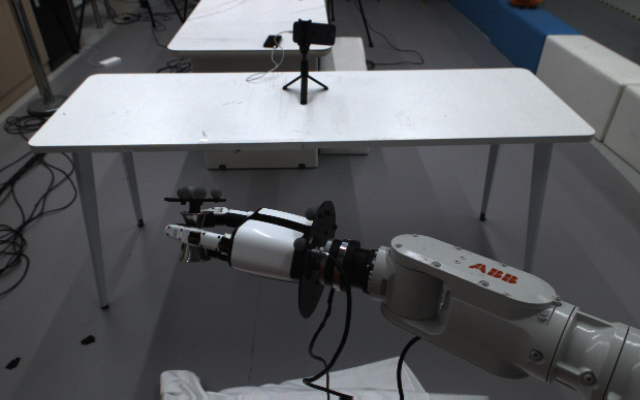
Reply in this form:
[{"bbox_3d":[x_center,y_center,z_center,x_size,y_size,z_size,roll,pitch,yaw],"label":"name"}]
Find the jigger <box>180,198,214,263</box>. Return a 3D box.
[{"bbox_3d":[-0.176,0.050,0.686,0.043,0.071,0.043,0,3,0],"label":"jigger"}]
